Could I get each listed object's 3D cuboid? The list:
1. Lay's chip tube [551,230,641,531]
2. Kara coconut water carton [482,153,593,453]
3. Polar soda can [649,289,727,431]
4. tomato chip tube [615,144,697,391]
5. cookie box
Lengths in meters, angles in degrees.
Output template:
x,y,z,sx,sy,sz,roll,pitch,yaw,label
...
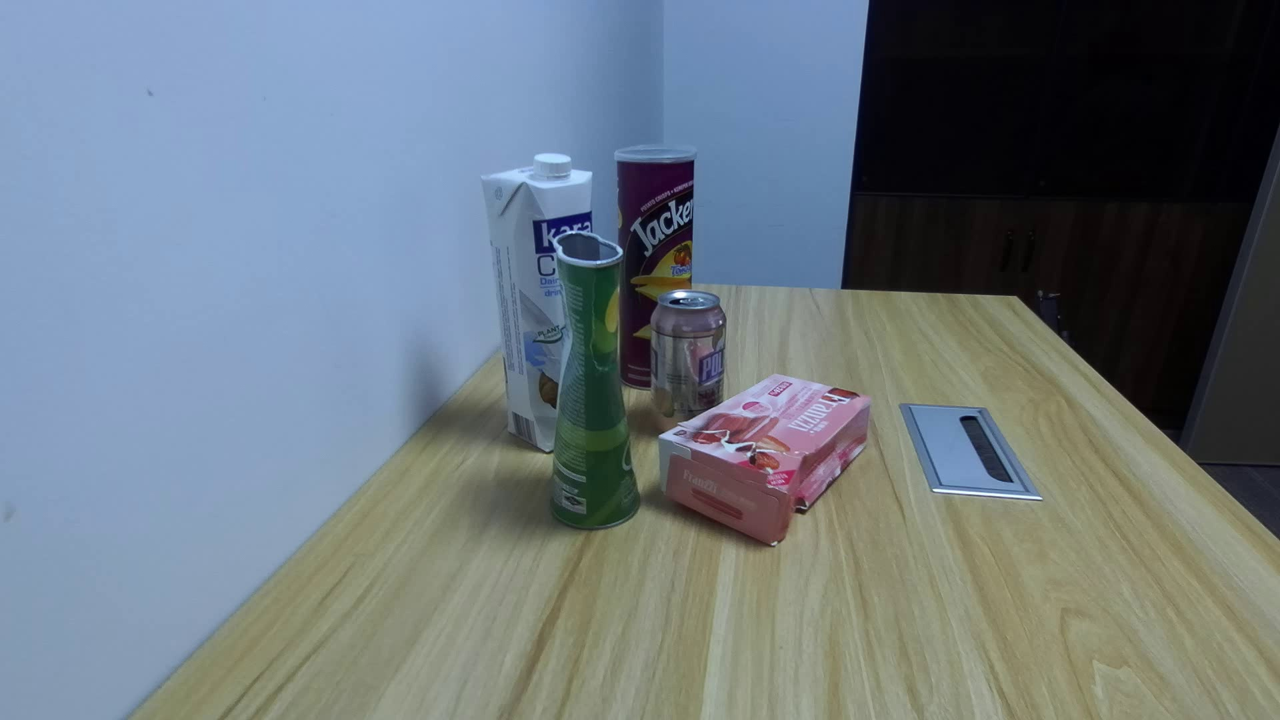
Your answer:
x,y,z,sx,sy,sz,roll,pitch,yaw,label
-0.036,0.017,0.502,0.074,0.199,0.069,14,28,31,Lay's chip tube
-0.080,-0.050,0.607,0.077,0.245,0.075,-20,28,-38,Kara coconut water carton
0.044,0.003,0.640,0.067,0.125,0.067,0,22,0,Polar soda can
0.019,-0.090,0.724,0.078,0.234,0.078,0,23,0,tomato chip tube
0.108,0.064,0.568,0.104,0.059,0.186,17,27,32,cookie box
